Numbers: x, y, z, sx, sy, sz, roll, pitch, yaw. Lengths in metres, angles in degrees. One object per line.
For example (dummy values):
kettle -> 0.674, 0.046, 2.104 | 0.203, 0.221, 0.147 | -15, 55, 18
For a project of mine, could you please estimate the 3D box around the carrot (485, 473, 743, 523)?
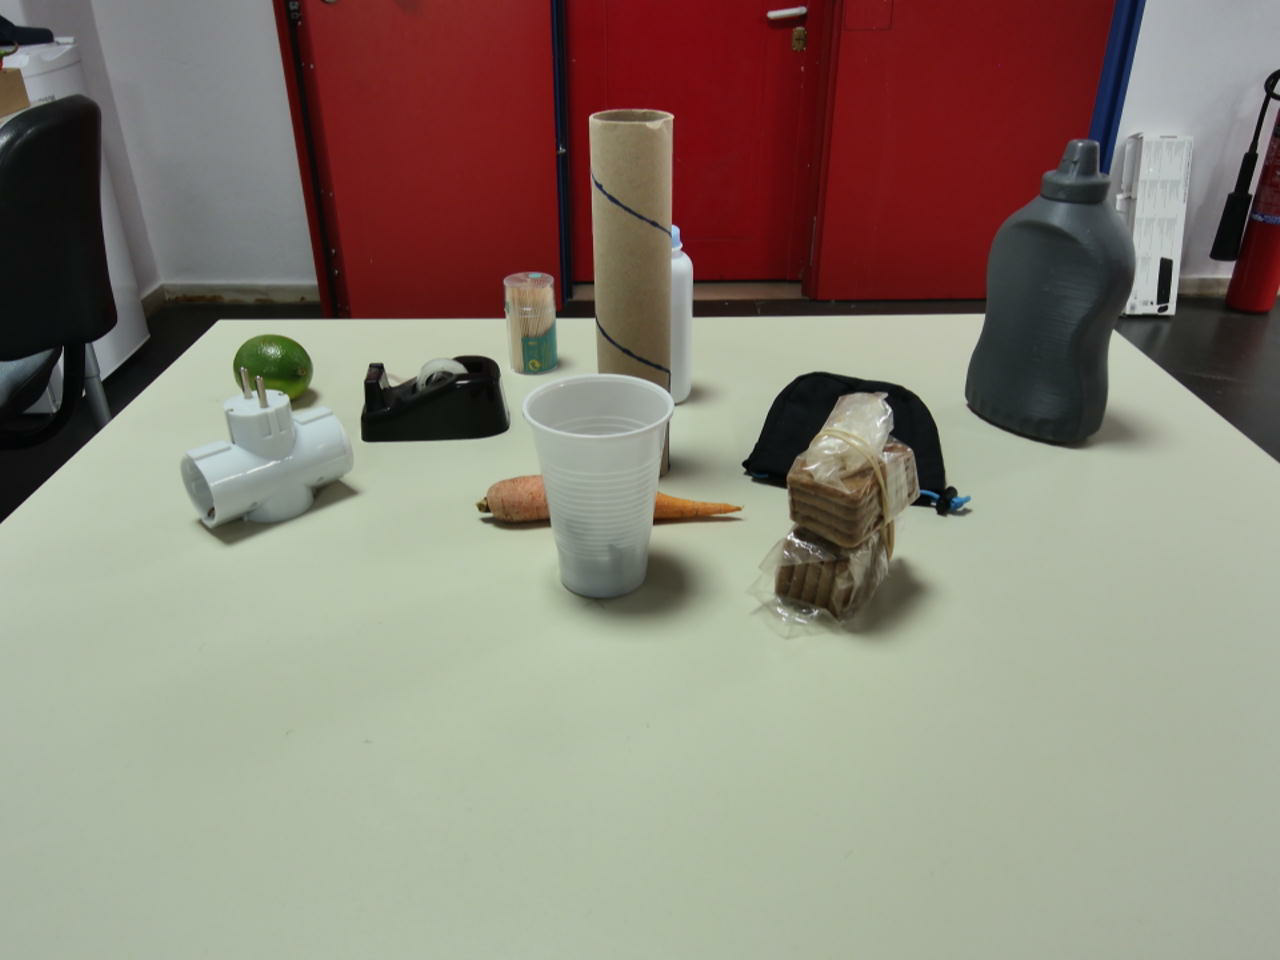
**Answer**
carrot -> -0.017, 0.011, 0.628 | 0.163, 0.029, 0.031 | 0, 27, 0
